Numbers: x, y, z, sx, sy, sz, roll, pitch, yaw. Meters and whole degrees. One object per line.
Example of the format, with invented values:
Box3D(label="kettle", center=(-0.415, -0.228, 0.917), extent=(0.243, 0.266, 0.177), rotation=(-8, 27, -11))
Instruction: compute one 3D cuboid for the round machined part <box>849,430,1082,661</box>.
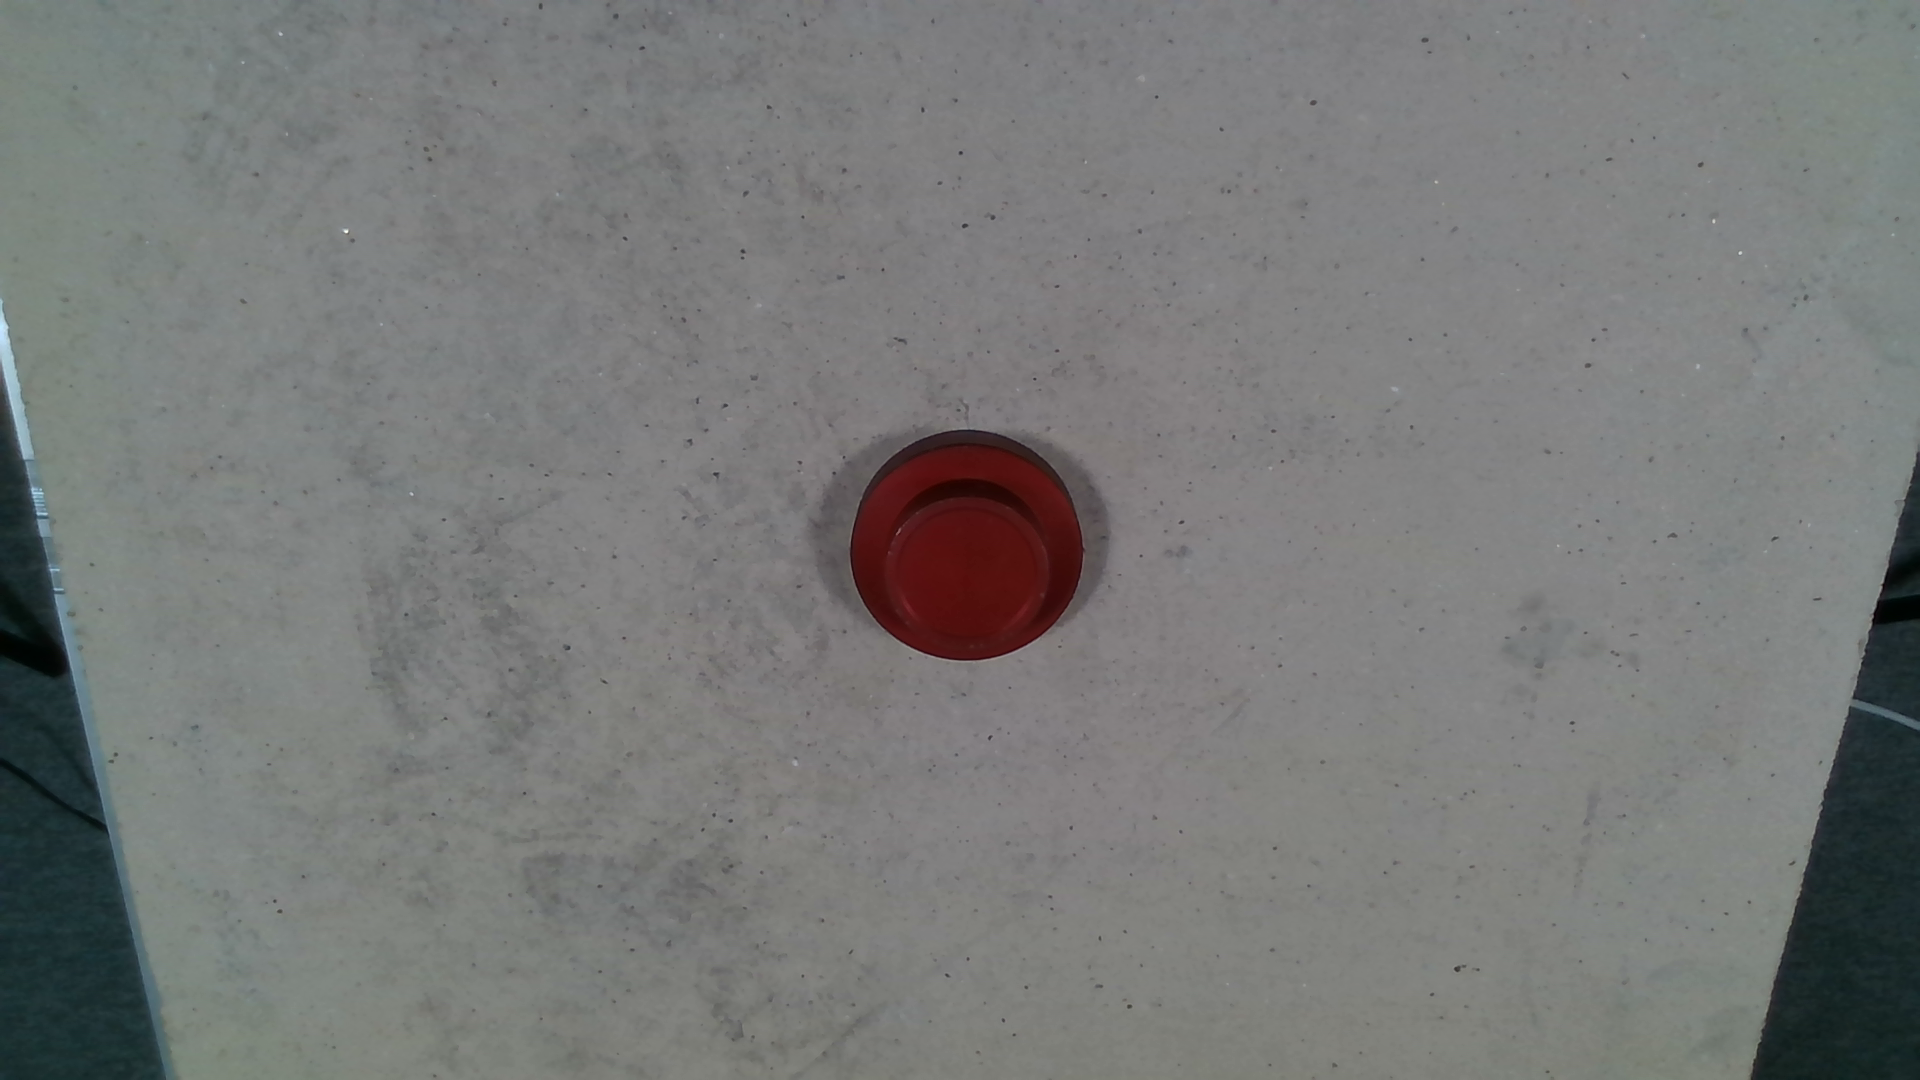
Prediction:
Box3D(label="round machined part", center=(0.002, 0.007, 0.578), extent=(0.098, 0.042, 0.098), rotation=(0, 110, 0))
